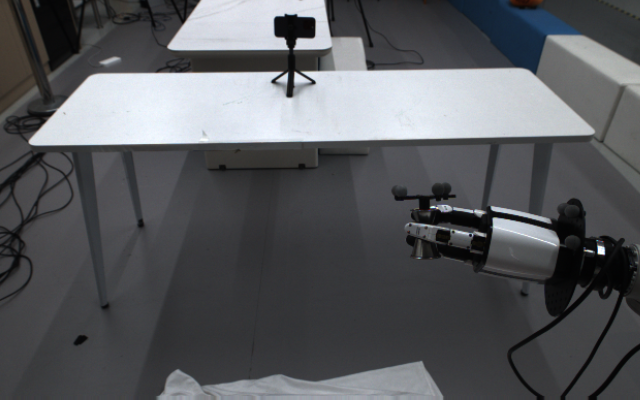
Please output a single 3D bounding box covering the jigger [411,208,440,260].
[{"bbox_3d":[0.148,0.045,0.684,0.043,0.071,0.043,-2,3,0],"label":"jigger"}]
